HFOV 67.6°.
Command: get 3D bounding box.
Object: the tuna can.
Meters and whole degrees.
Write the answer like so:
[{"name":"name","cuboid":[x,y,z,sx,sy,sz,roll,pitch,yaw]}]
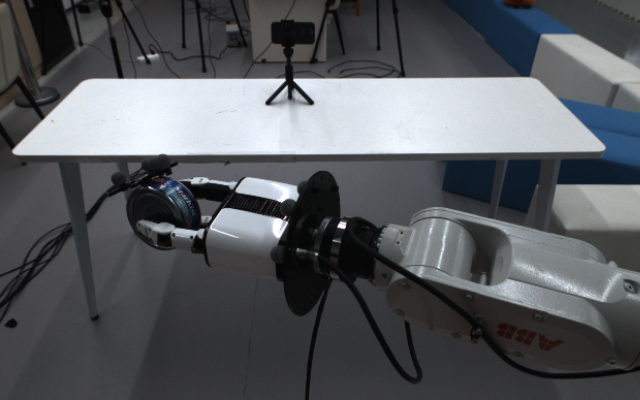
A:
[{"name":"tuna can","cuboid":[-0.185,0.023,0.581,0.085,0.085,0.034,14,30,17]}]
